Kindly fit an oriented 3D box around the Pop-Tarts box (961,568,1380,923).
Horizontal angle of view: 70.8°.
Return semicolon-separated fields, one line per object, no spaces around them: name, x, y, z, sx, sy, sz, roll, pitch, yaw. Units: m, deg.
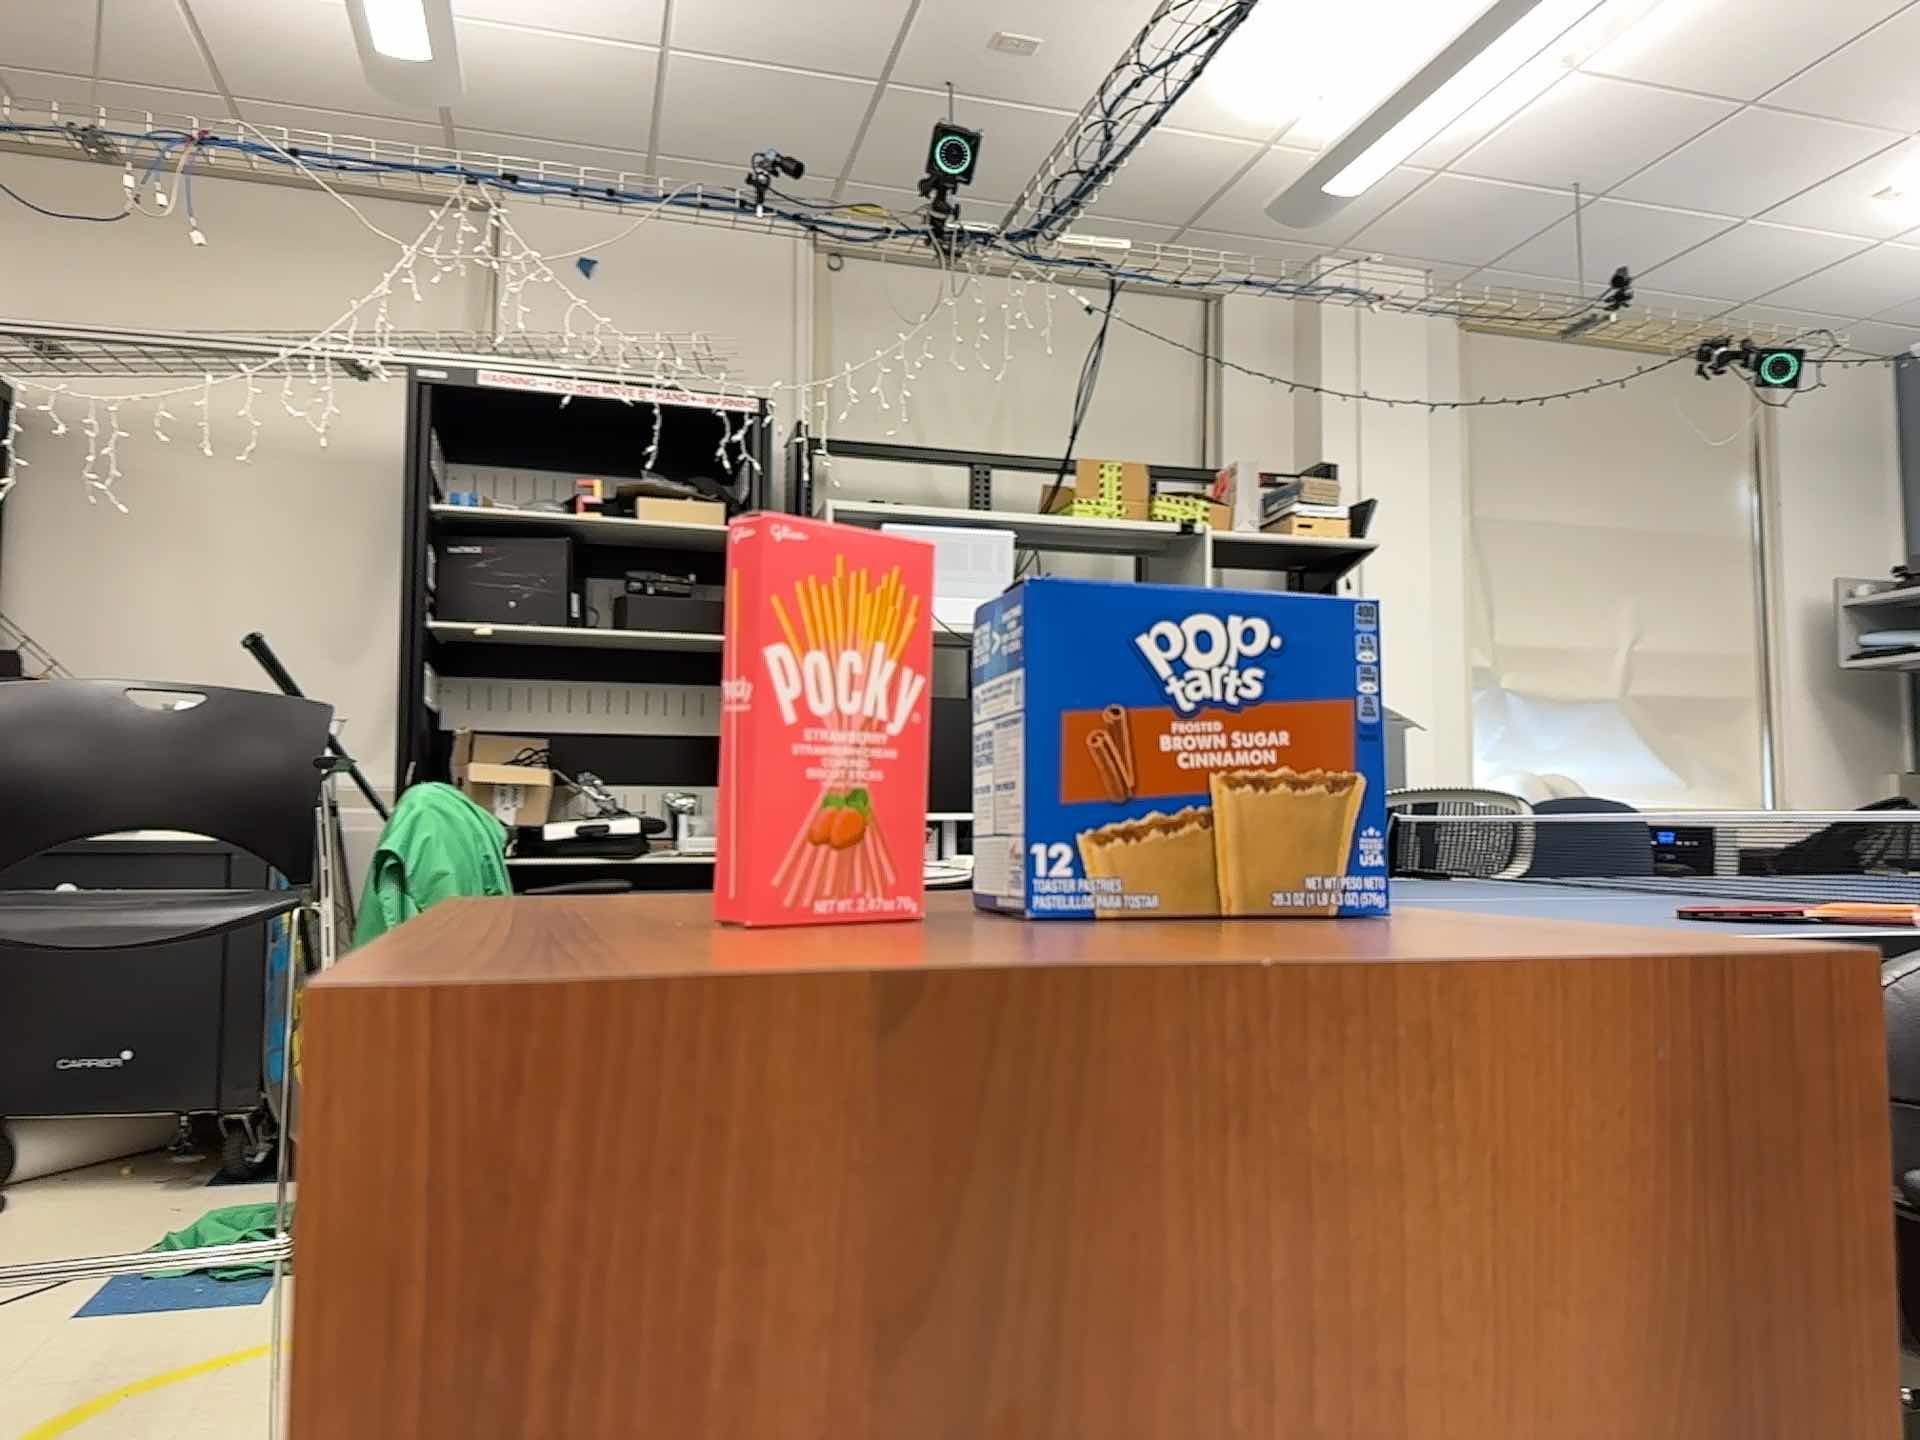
Pop-Tarts box;0.091;0.016;0.594;0.161;0.135;0.075;4;-7;-16

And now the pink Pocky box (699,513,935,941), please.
pink Pocky box;-0.052;0.004;0.513;0.084;0.155;0.029;5;-5;-37
